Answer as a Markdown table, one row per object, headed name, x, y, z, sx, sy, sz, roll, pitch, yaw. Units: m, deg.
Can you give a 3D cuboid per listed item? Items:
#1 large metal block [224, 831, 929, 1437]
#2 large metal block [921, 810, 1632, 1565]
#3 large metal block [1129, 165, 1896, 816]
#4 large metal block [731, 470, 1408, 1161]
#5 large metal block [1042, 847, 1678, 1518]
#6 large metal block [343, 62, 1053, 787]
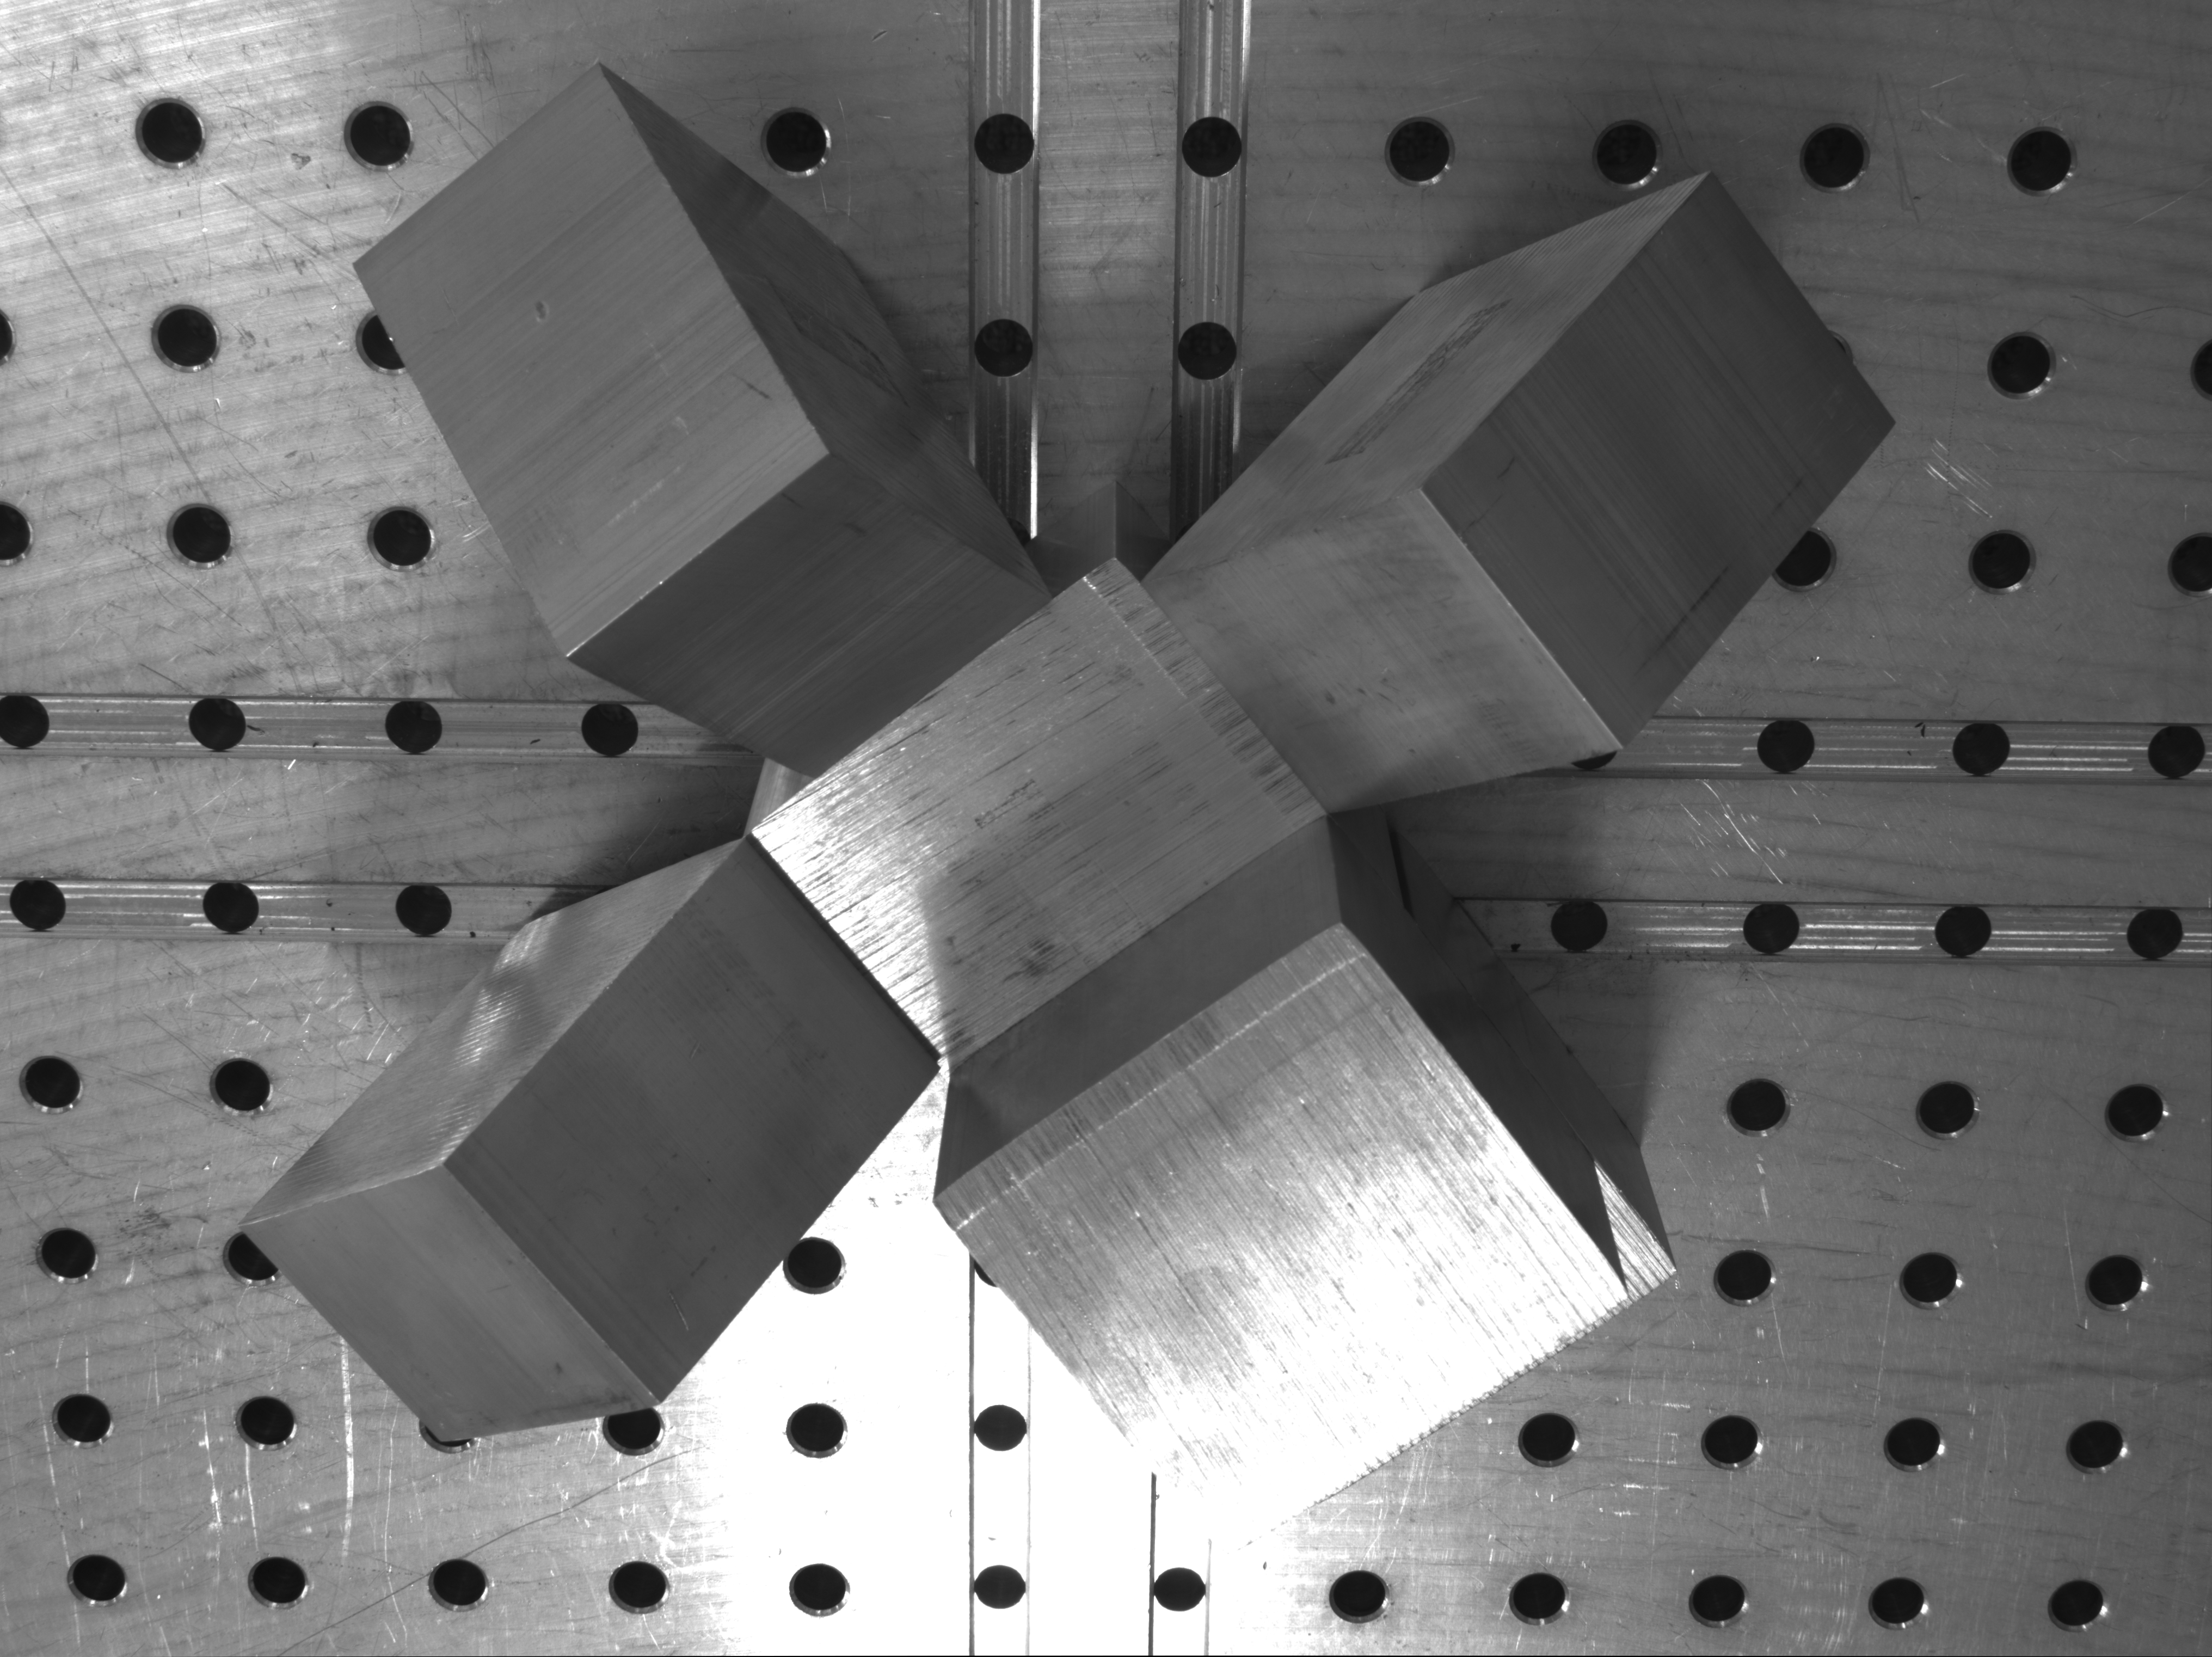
| name | x | y | z | sx | sy | sz | roll | pitch | yaw |
| --- | --- | --- | --- | --- | --- | --- | --- | --- | --- |
| large metal block | -0.090 | 0.053 | 0.621 | 0.050 | 0.080 | 0.080 | 50 | 144 | -15 |
| large metal block | 0.027 | 0.058 | 0.600 | 0.080 | 0.050 | 0.080 | -36 | 107 | 11 |
| large metal block | 0.063 | -0.051 | 0.582 | 0.050 | 0.080 | 0.080 | 50 | 63 | -15 |
| large metal block | -0.006 | -0.001 | 0.633 | 0.080 | 0.050 | 0.080 | -37 | 106 | 12 |
| large metal block | 0.043 | 0.061 | 0.655 | 0.080 | 0.050 | 0.080 | -35 | 105 | 11 |
| large metal block | -0.063 | -0.061 | 0.579 | 0.050 | 0.080 | 0.080 | -36 | 67 | 12 |
